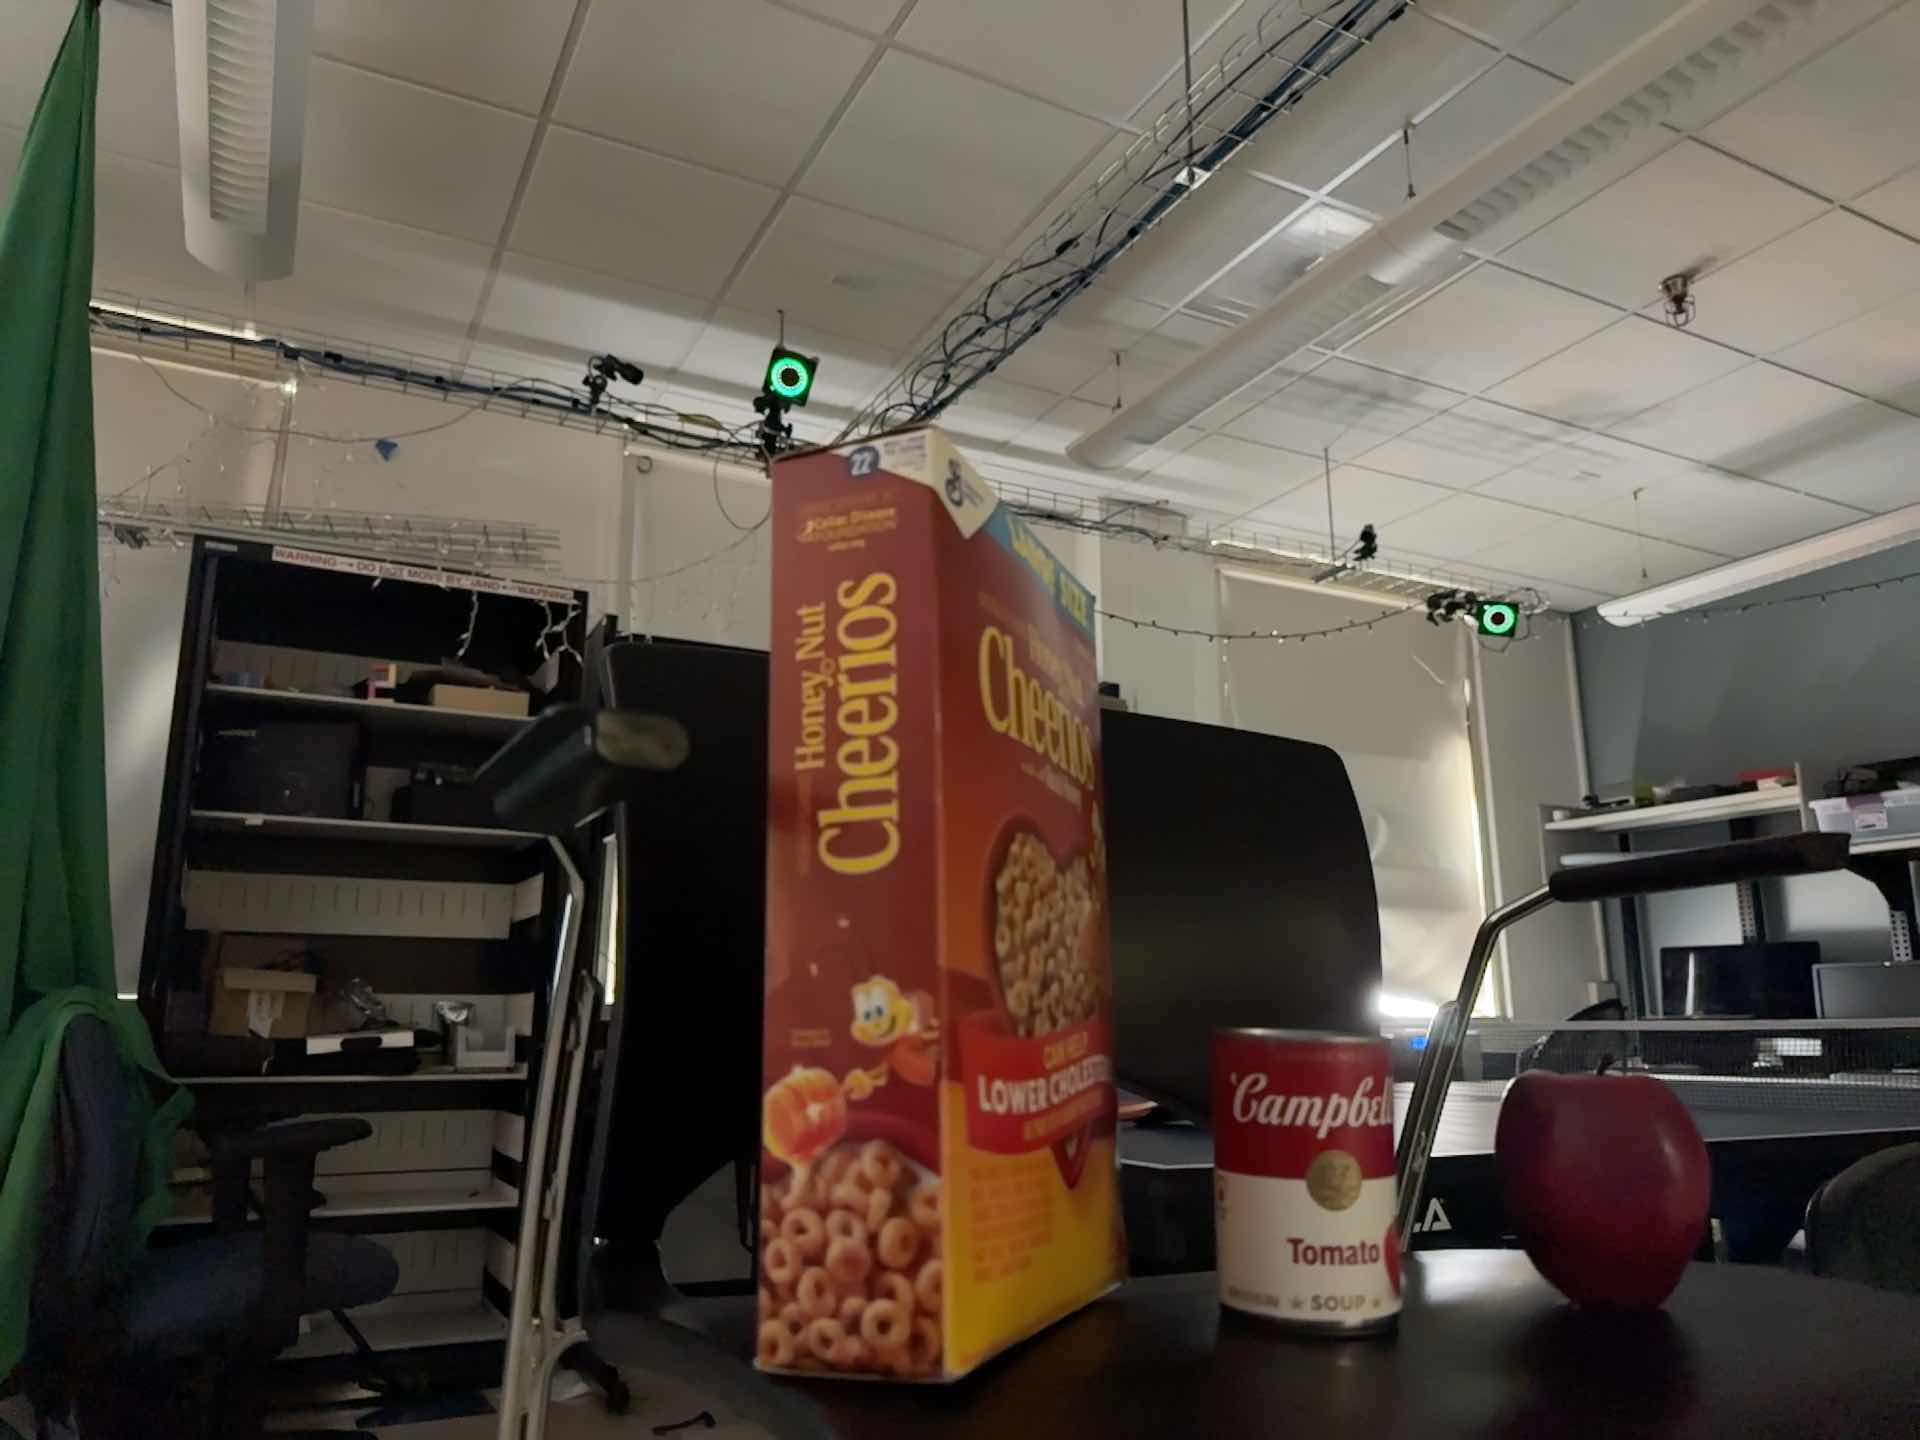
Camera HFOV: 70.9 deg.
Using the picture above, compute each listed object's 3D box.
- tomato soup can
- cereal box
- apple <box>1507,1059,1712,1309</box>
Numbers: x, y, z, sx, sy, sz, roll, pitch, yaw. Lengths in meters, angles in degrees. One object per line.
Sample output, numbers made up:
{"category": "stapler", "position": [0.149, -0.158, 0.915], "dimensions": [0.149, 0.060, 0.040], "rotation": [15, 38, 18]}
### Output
{"category": "tomato soup can", "position": [0.130, 0.172, 0.511], "dimensions": [0.067, 0.102, 0.067], "rotation": [1, -10, 0]}
{"category": "cereal box", "position": [-0.003, 0.072, 0.519], "dimensions": [0.065, 0.297, 0.195], "rotation": [-5, -13, 23]}
{"category": "apple", "position": [0.257, 0.182, 0.536], "dimensions": [0.079, 0.093, 0.079], "rotation": [2, -6, 0]}
